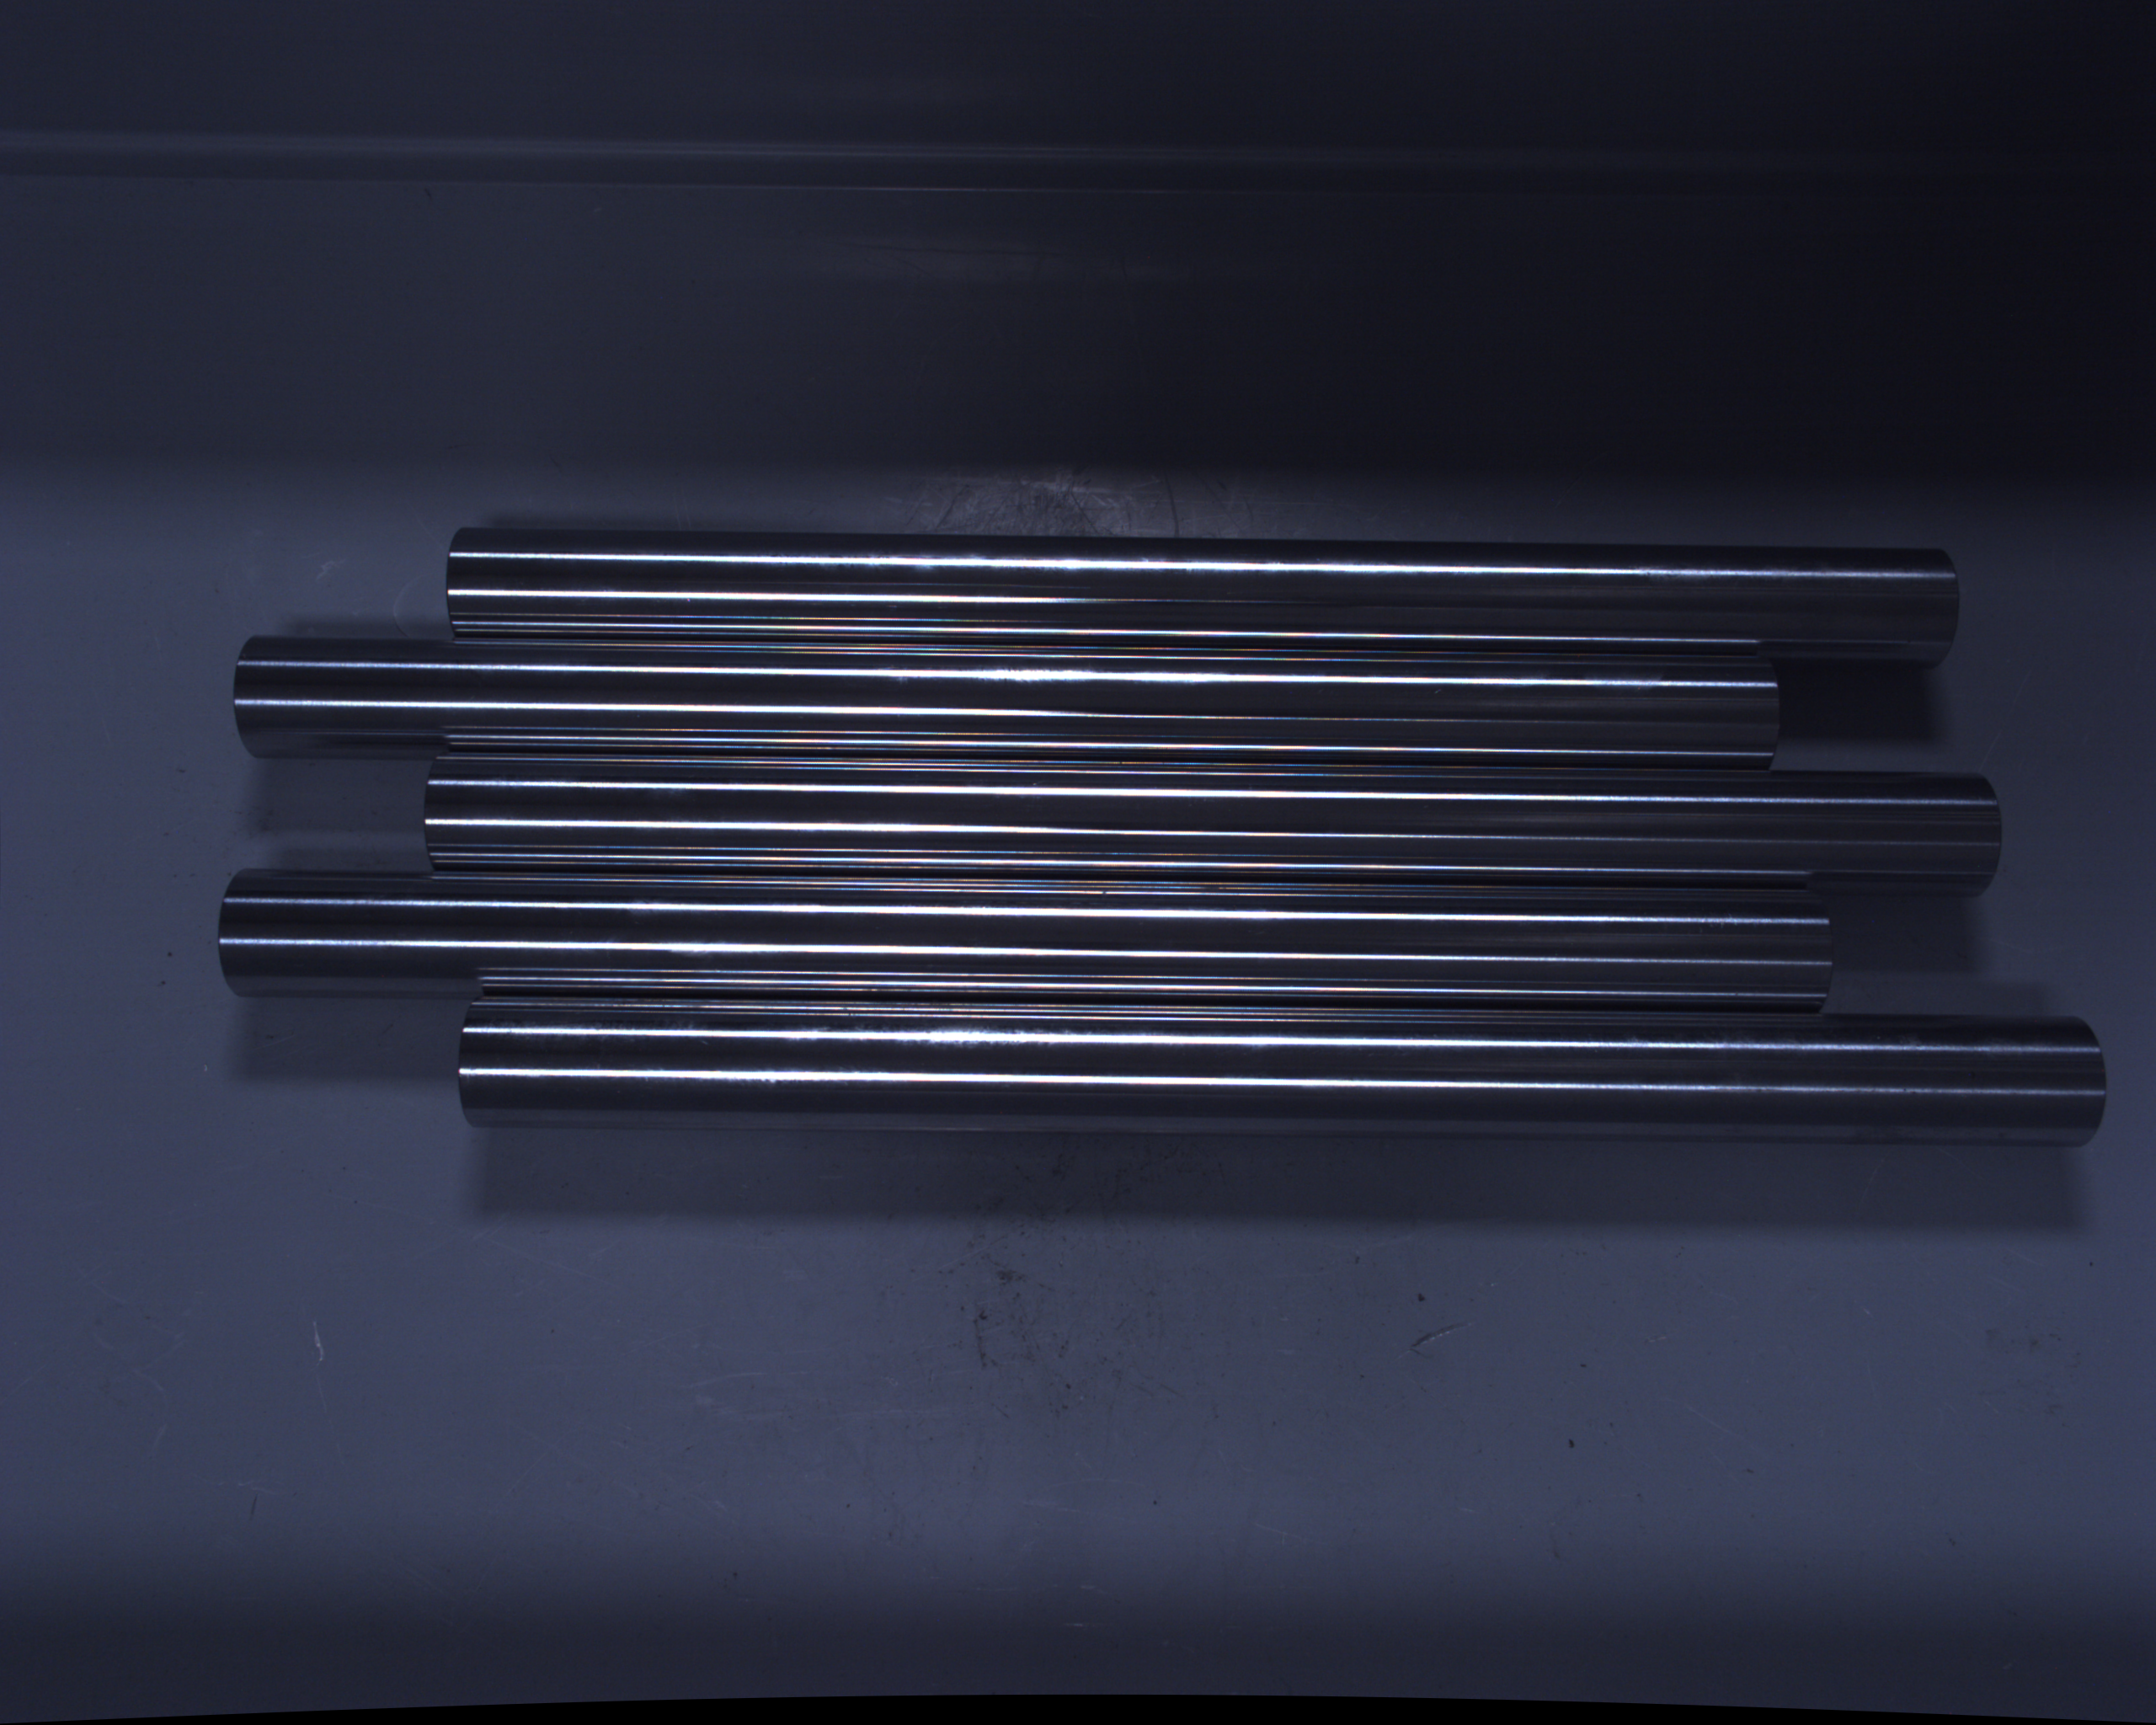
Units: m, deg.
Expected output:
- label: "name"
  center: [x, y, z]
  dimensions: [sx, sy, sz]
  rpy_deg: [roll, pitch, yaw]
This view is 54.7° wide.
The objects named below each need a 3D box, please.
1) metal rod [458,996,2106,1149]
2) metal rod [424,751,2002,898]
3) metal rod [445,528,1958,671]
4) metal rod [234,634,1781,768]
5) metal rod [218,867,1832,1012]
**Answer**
- label: "metal rod"
  center: [0.038, 0.040, 0.394]
  dimensions: [0.302, 0.025, 0.025]
  rpy_deg: [1, 70, 0]
- label: "metal rod"
  center: [0.026, -0.007, 0.411]
  dimensions: [0.302, 0.025, 0.025]
  rpy_deg: [1, 70, 0]
- label: "metal rod"
  center: [0.025, -0.054, 0.428]
  dimensions: [0.302, 0.025, 0.025]
  rpy_deg: [1, 70, 0]
- label: "metal rod"
  center: [-0.013, -0.031, 0.419]
  dimensions: [0.302, 0.025, 0.025]
  rpy_deg: [1, 70, 0]
- label: "metal rod"
  center: [-0.009, 0.015, 0.402]
  dimensions: [0.302, 0.025, 0.025]
  rpy_deg: [1, 70, 0]
